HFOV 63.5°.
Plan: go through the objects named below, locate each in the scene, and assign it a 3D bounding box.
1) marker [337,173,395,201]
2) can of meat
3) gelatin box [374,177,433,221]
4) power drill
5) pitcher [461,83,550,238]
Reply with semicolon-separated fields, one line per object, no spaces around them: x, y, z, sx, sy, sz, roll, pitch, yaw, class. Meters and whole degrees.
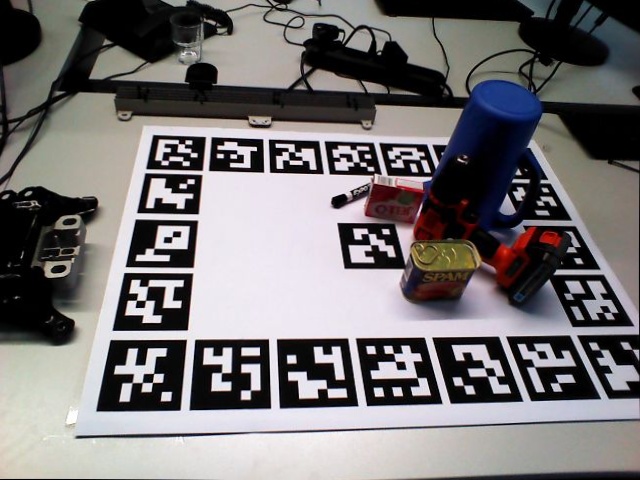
0.083;-0.095;0.924;0.120;0.020;0.019;-21;55;-22;marker
0.181;0.050;0.767;0.102;0.084;0.057;1;47;-7;can of meat
0.143;-0.068;0.877;0.089;0.073;0.030;11;52;0;gelatin box
0.250;-0.027;0.782;0.187;0.185;0.057;32;55;12;power drill
0.294;-0.118;0.837;0.189;0.243;0.132;23;53;20;pitcher
